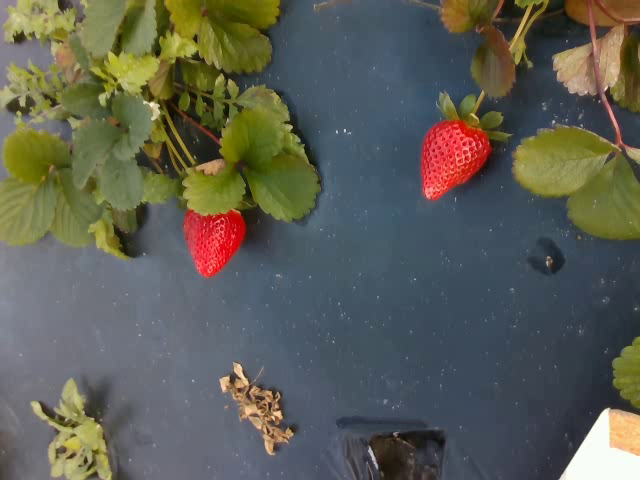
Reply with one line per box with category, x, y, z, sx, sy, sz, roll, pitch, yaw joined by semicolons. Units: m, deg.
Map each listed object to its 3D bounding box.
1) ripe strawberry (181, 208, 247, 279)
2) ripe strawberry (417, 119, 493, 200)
ripe strawberry;-0.069;0.002;0.393;0.050;0.050;0.046;12;-32;5
ripe strawberry;0.065;-0.037;0.319;0.044;0.052;0.041;29;-4;-10
